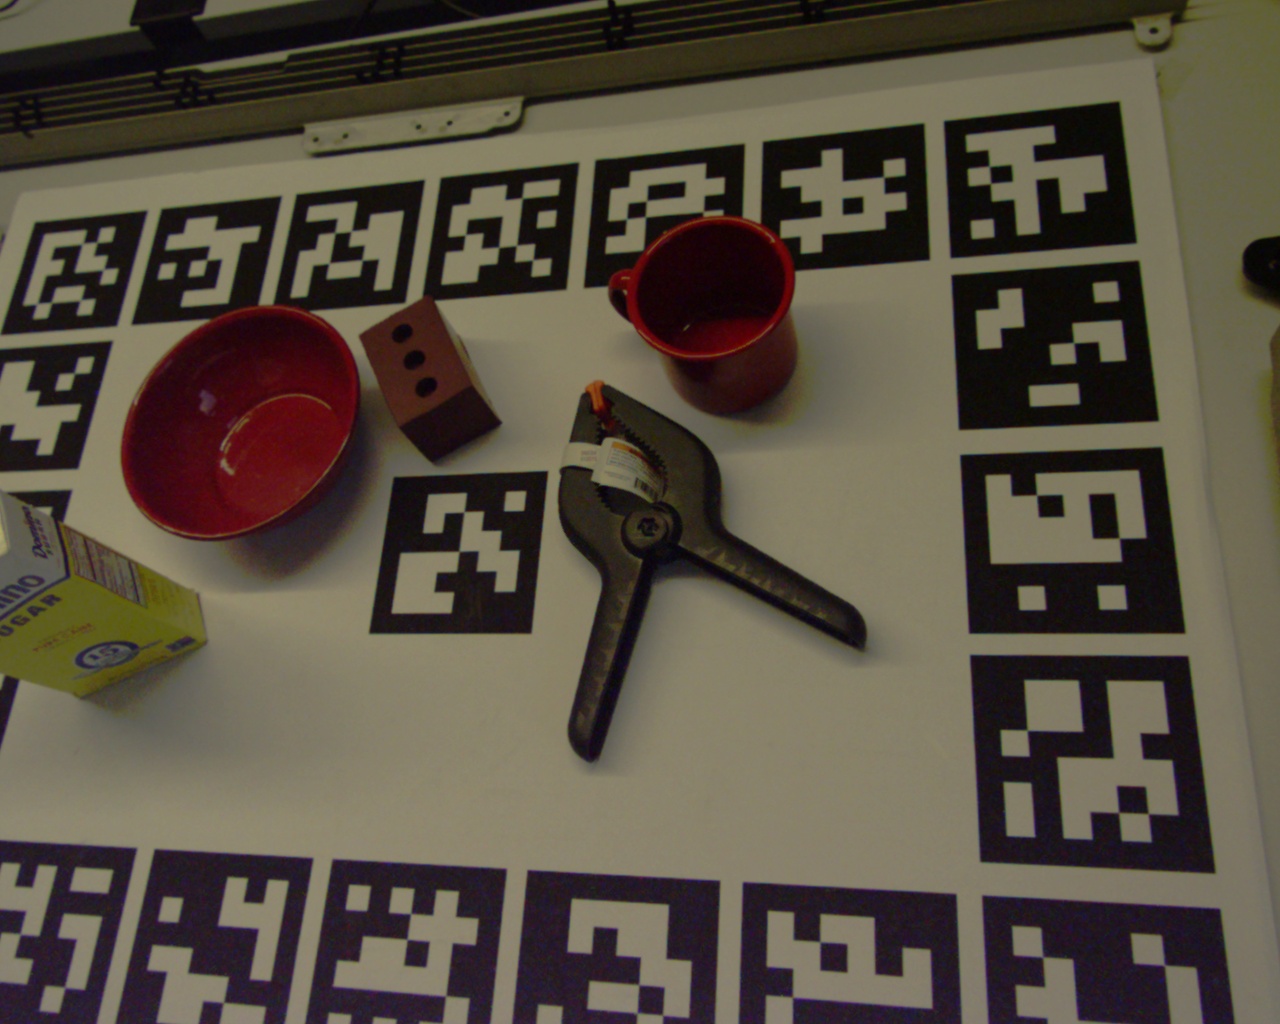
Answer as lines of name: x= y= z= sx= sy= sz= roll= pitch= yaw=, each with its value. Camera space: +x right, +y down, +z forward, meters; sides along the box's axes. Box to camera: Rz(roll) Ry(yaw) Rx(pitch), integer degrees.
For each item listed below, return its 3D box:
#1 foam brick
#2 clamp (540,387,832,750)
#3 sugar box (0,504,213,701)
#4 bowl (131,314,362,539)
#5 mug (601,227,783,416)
foam brick: x=-0.131 y=-0.075 z=0.738 sx=0.053 sy=0.051 sz=0.078 roll=-28 pitch=66 yaw=4
clamp: x=-0.003 y=0.014 z=0.664 sx=0.166 sy=0.036 sz=0.204 roll=-25 pitch=66 yaw=7
sugar box: x=-0.339 y=0.059 z=0.667 sx=0.093 sy=0.175 sz=0.045 roll=-25 pitch=68 yaw=2
bowl: x=-0.248 y=-0.047 z=0.750 sx=0.162 sy=0.055 sz=0.162 roll=-5 pitch=68 yaw=12
mug: x=0.030 y=-0.113 z=0.685 sx=0.118 sy=0.081 sz=0.093 roll=24 pitch=77 yaw=18
